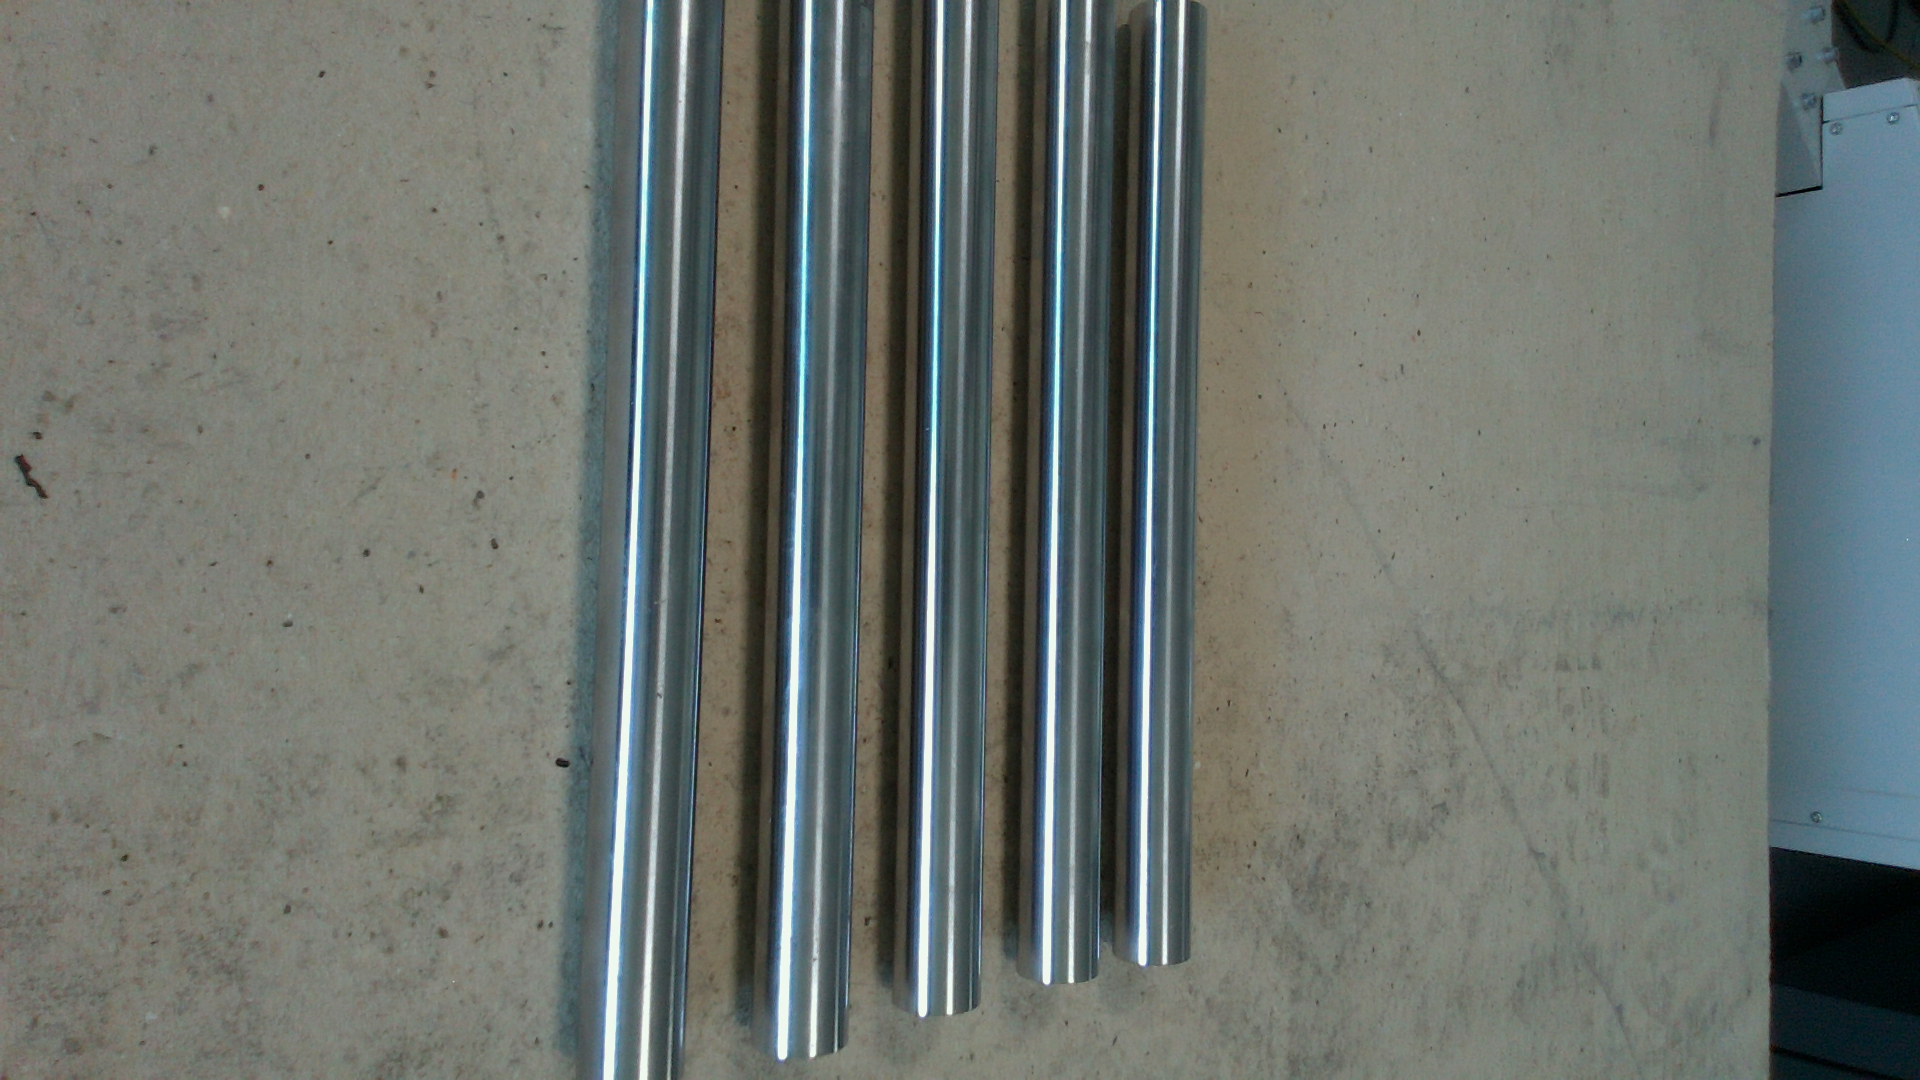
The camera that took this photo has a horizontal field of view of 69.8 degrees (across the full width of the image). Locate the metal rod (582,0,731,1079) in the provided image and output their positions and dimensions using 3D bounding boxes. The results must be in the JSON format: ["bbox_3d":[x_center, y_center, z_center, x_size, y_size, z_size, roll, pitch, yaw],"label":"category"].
[{"bbox_3d":[-0.071,-0.024,0.328,0.025,0.025,0.300,3,88,-40],"label":"metal rod"}]

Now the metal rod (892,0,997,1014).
[{"bbox_3d":[-0.004,-0.022,0.385,0.025,0.025,0.300,2,89,-40],"label":"metal rod"}]

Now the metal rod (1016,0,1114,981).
[{"bbox_3d":[0.032,-0.021,0.415,0.025,0.025,0.300,2,89,-40],"label":"metal rod"}]

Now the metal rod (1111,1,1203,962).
[{"bbox_3d":[0.063,-0.019,0.441,0.025,0.025,0.300,2,89,-40],"label":"metal rod"}]

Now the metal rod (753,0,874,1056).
[{"bbox_3d":[-0.038,-0.021,0.357,0.025,0.025,0.300,2,89,-40],"label":"metal rod"}]
